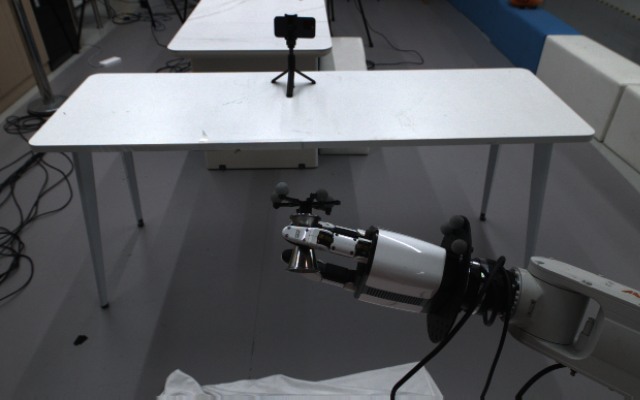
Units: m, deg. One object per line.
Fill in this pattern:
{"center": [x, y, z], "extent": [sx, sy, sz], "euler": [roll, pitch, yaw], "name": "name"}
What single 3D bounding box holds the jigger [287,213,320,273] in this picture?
{"center": [-0.020, 0.053, 0.599], "extent": [0.043, 0.043, 0.071], "euler": [3, 76, 1], "name": "jigger"}
